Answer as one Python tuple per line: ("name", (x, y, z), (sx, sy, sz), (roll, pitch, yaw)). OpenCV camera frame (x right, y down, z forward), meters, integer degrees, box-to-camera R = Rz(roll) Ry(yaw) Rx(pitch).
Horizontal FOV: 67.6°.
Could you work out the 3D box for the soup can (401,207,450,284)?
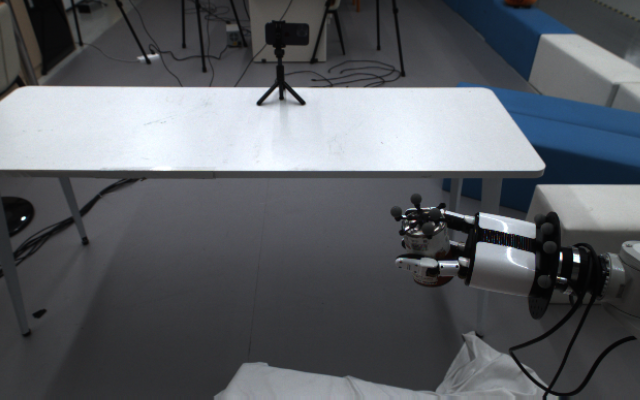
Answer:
("soup can", (0.167, 0.073, 0.739), (0.067, 0.101, 0.067), (-13, 31, 8))
